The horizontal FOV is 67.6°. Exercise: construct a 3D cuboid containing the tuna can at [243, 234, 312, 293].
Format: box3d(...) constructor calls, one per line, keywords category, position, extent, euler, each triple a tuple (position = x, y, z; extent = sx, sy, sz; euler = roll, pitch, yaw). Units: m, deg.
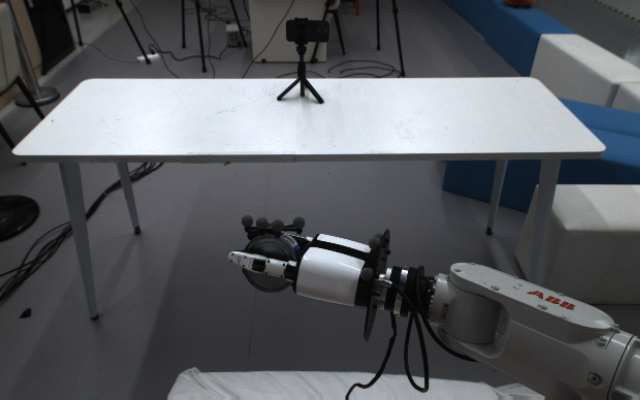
box3d(category="tuna can", position=(-0.066, 0.090, 0.705), extent=(0.085, 0.085, 0.034), euler=(12, 8, 14))
